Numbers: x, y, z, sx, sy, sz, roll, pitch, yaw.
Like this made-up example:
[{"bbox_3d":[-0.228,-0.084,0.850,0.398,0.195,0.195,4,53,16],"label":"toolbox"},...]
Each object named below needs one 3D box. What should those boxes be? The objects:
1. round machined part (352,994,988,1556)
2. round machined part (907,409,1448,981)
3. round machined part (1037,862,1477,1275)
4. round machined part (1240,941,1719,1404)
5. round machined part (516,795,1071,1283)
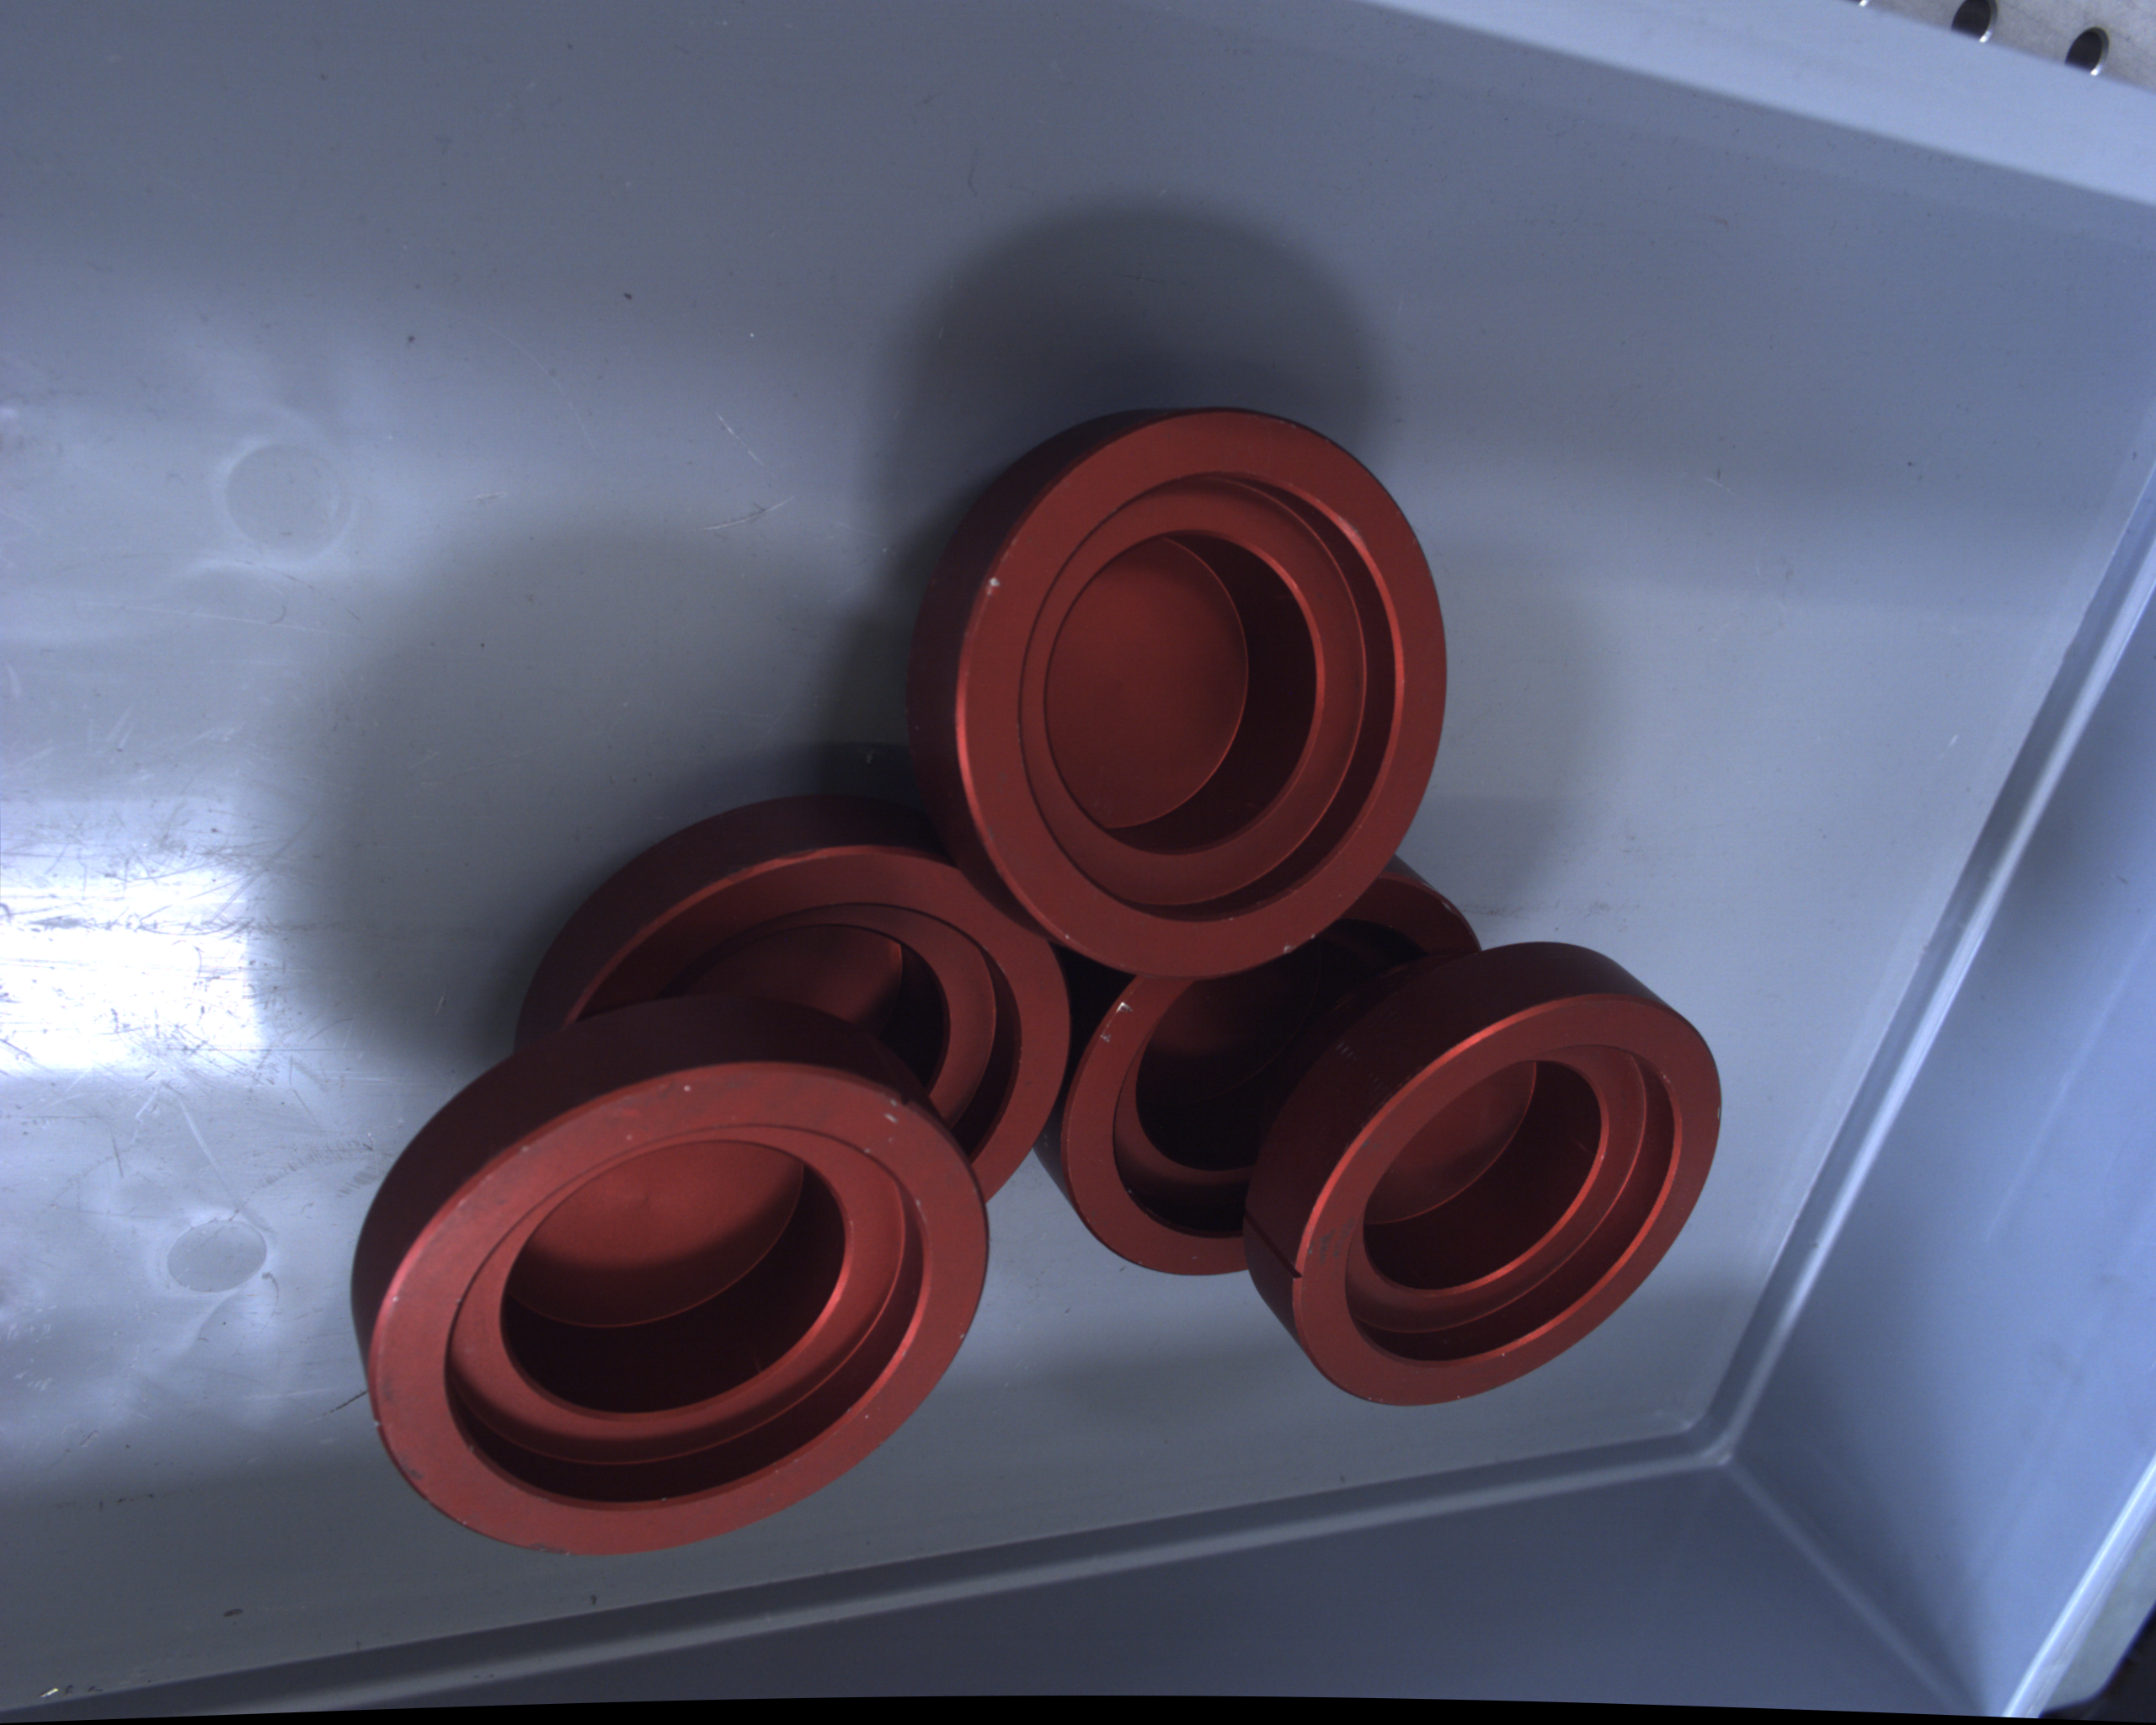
[{"bbox_3d":[-0.068,0.063,0.343,0.099,0.042,0.097,-14,124,-21],"label":"round machined part"},{"bbox_3d":[0.014,-0.031,0.371,0.099,0.042,0.097,-7,104,-29],"label":"round machined part"},{"bbox_3d":[0.033,0.035,0.435,0.099,0.042,0.097,-14,124,-21],"label":"round machined part"},{"bbox_3d":[0.075,0.057,0.419,0.099,0.042,0.097,-14,124,-21],"label":"round machined part"},{"bbox_3d":[-0.054,0.030,0.385,0.099,0.042,0.097,-14,124,-21],"label":"round machined part"}]
